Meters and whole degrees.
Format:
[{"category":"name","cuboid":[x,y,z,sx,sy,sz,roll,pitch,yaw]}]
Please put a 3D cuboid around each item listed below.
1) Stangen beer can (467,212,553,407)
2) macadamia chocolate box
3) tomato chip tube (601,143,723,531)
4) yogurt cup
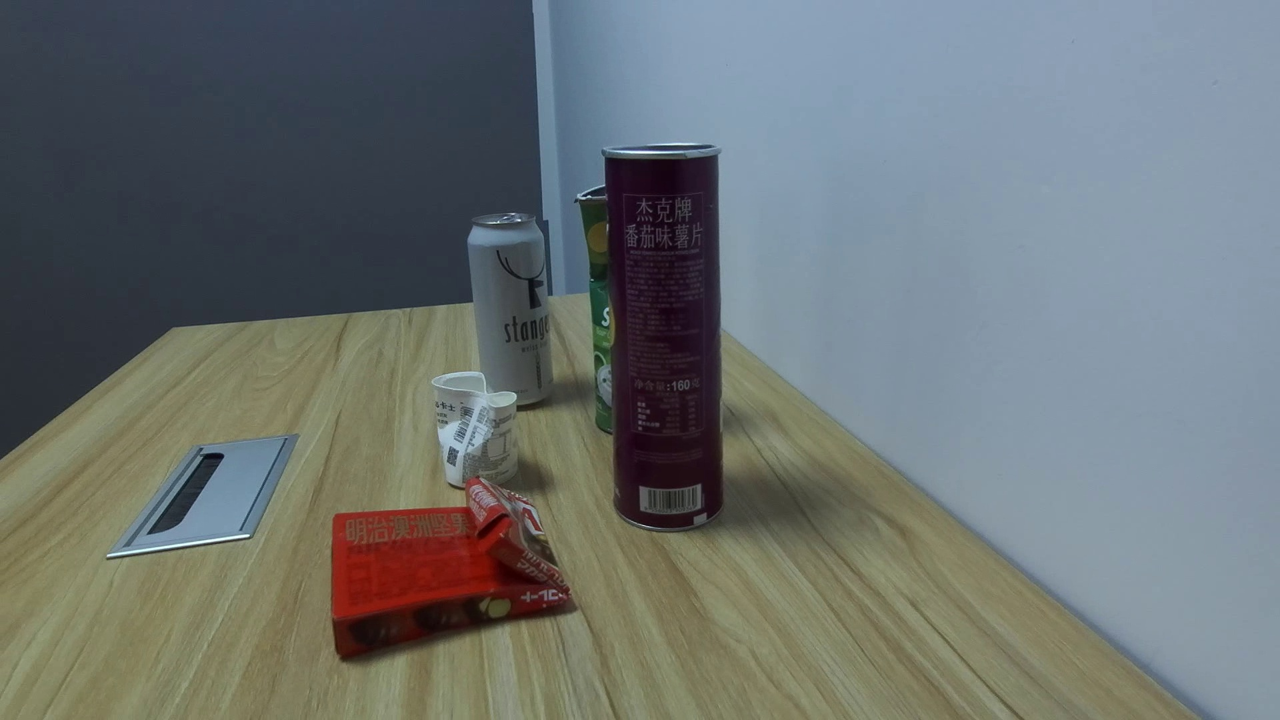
[{"category":"Stangen beer can","cuboid":[-0.116,-0.043,0.645,0.067,0.171,0.067,-1,18,0]},{"category":"macadamia chocolate box","cuboid":[-0.114,0.112,0.413,0.127,0.056,0.112,-10,6,-19]},{"category":"tomato chip tube","cuboid":[0.017,-0.013,0.446,0.076,0.234,0.080,16,26,40]},{"category":"yogurt cup","cuboid":[-0.120,0.052,0.522,0.075,0.071,0.054,3,21,15]}]
